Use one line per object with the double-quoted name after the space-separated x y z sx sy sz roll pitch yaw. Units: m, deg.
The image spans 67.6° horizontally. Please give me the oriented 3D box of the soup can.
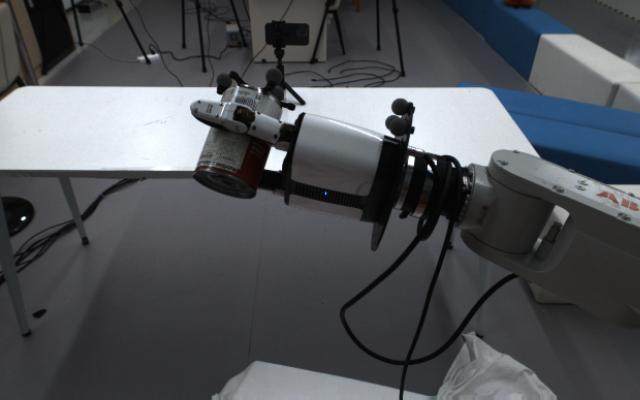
-0.083 -0.060 0.510 0.067 0.067 0.101 11 72 13 "soup can"
